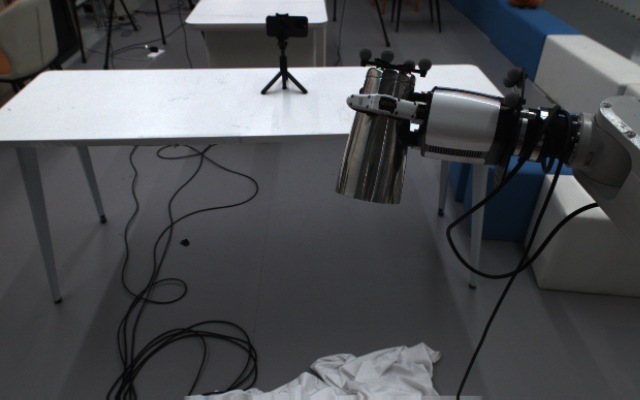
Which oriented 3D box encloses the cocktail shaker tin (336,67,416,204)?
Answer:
[{"bbox_3d":[0.084,-0.091,0.662,0.093,0.170,0.093,10,9,-2],"label":"cocktail shaker tin"}]
